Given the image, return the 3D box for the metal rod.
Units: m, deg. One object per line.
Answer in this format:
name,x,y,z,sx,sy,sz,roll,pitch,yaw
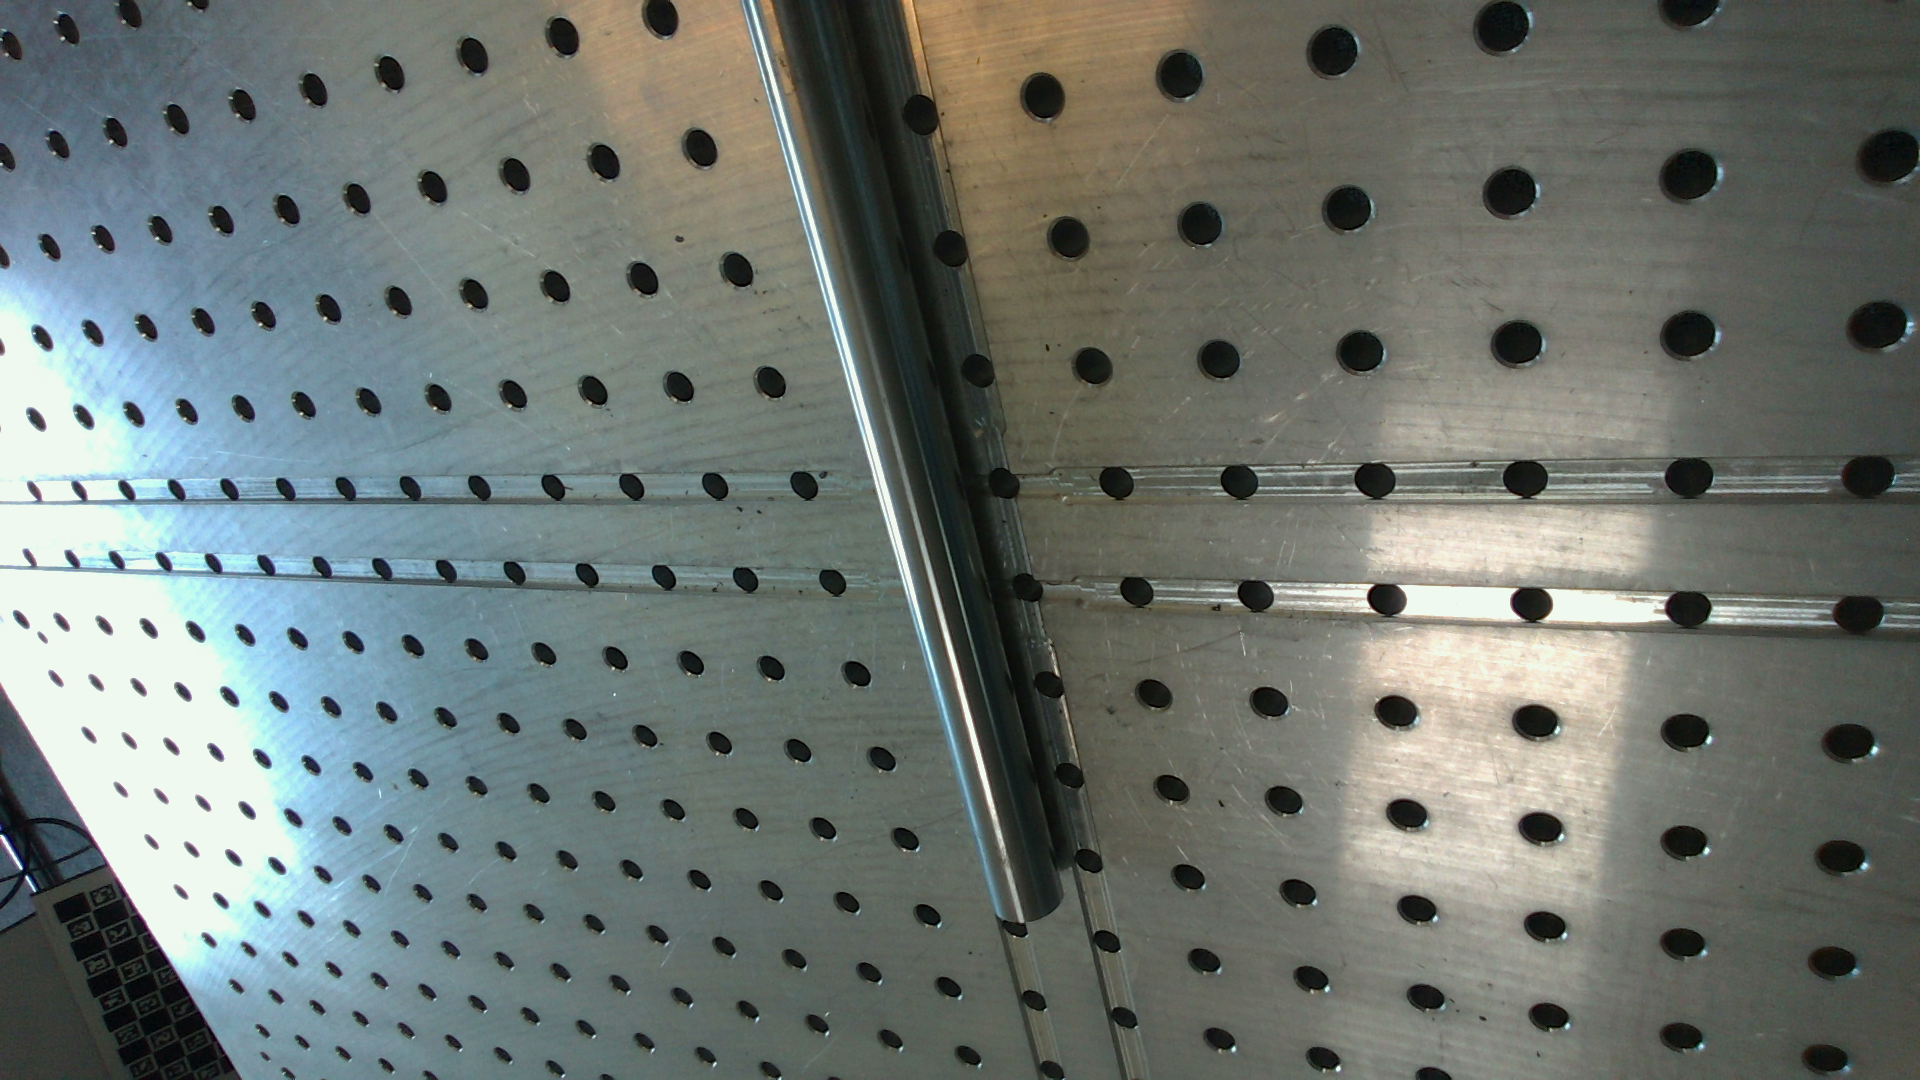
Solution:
metal rod,-0.012,-0.014,0.394,0.025,0.025,0.300,0,119,28
